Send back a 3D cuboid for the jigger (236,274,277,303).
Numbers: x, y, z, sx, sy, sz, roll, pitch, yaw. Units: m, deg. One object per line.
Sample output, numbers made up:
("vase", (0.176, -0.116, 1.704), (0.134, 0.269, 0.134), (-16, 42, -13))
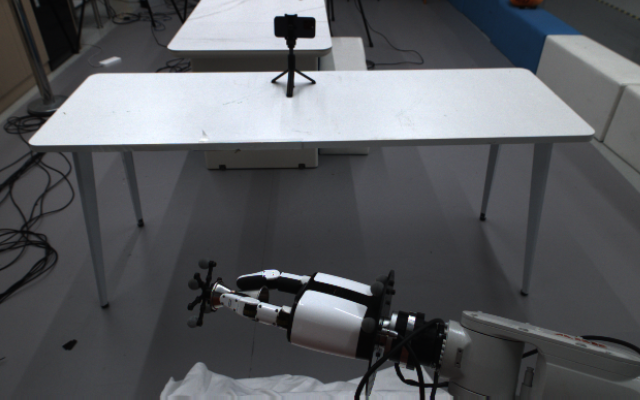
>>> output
("jigger", (-0.102, 0.131, 0.655), (0.071, 0.043, 0.043), (6, 34, 15))
